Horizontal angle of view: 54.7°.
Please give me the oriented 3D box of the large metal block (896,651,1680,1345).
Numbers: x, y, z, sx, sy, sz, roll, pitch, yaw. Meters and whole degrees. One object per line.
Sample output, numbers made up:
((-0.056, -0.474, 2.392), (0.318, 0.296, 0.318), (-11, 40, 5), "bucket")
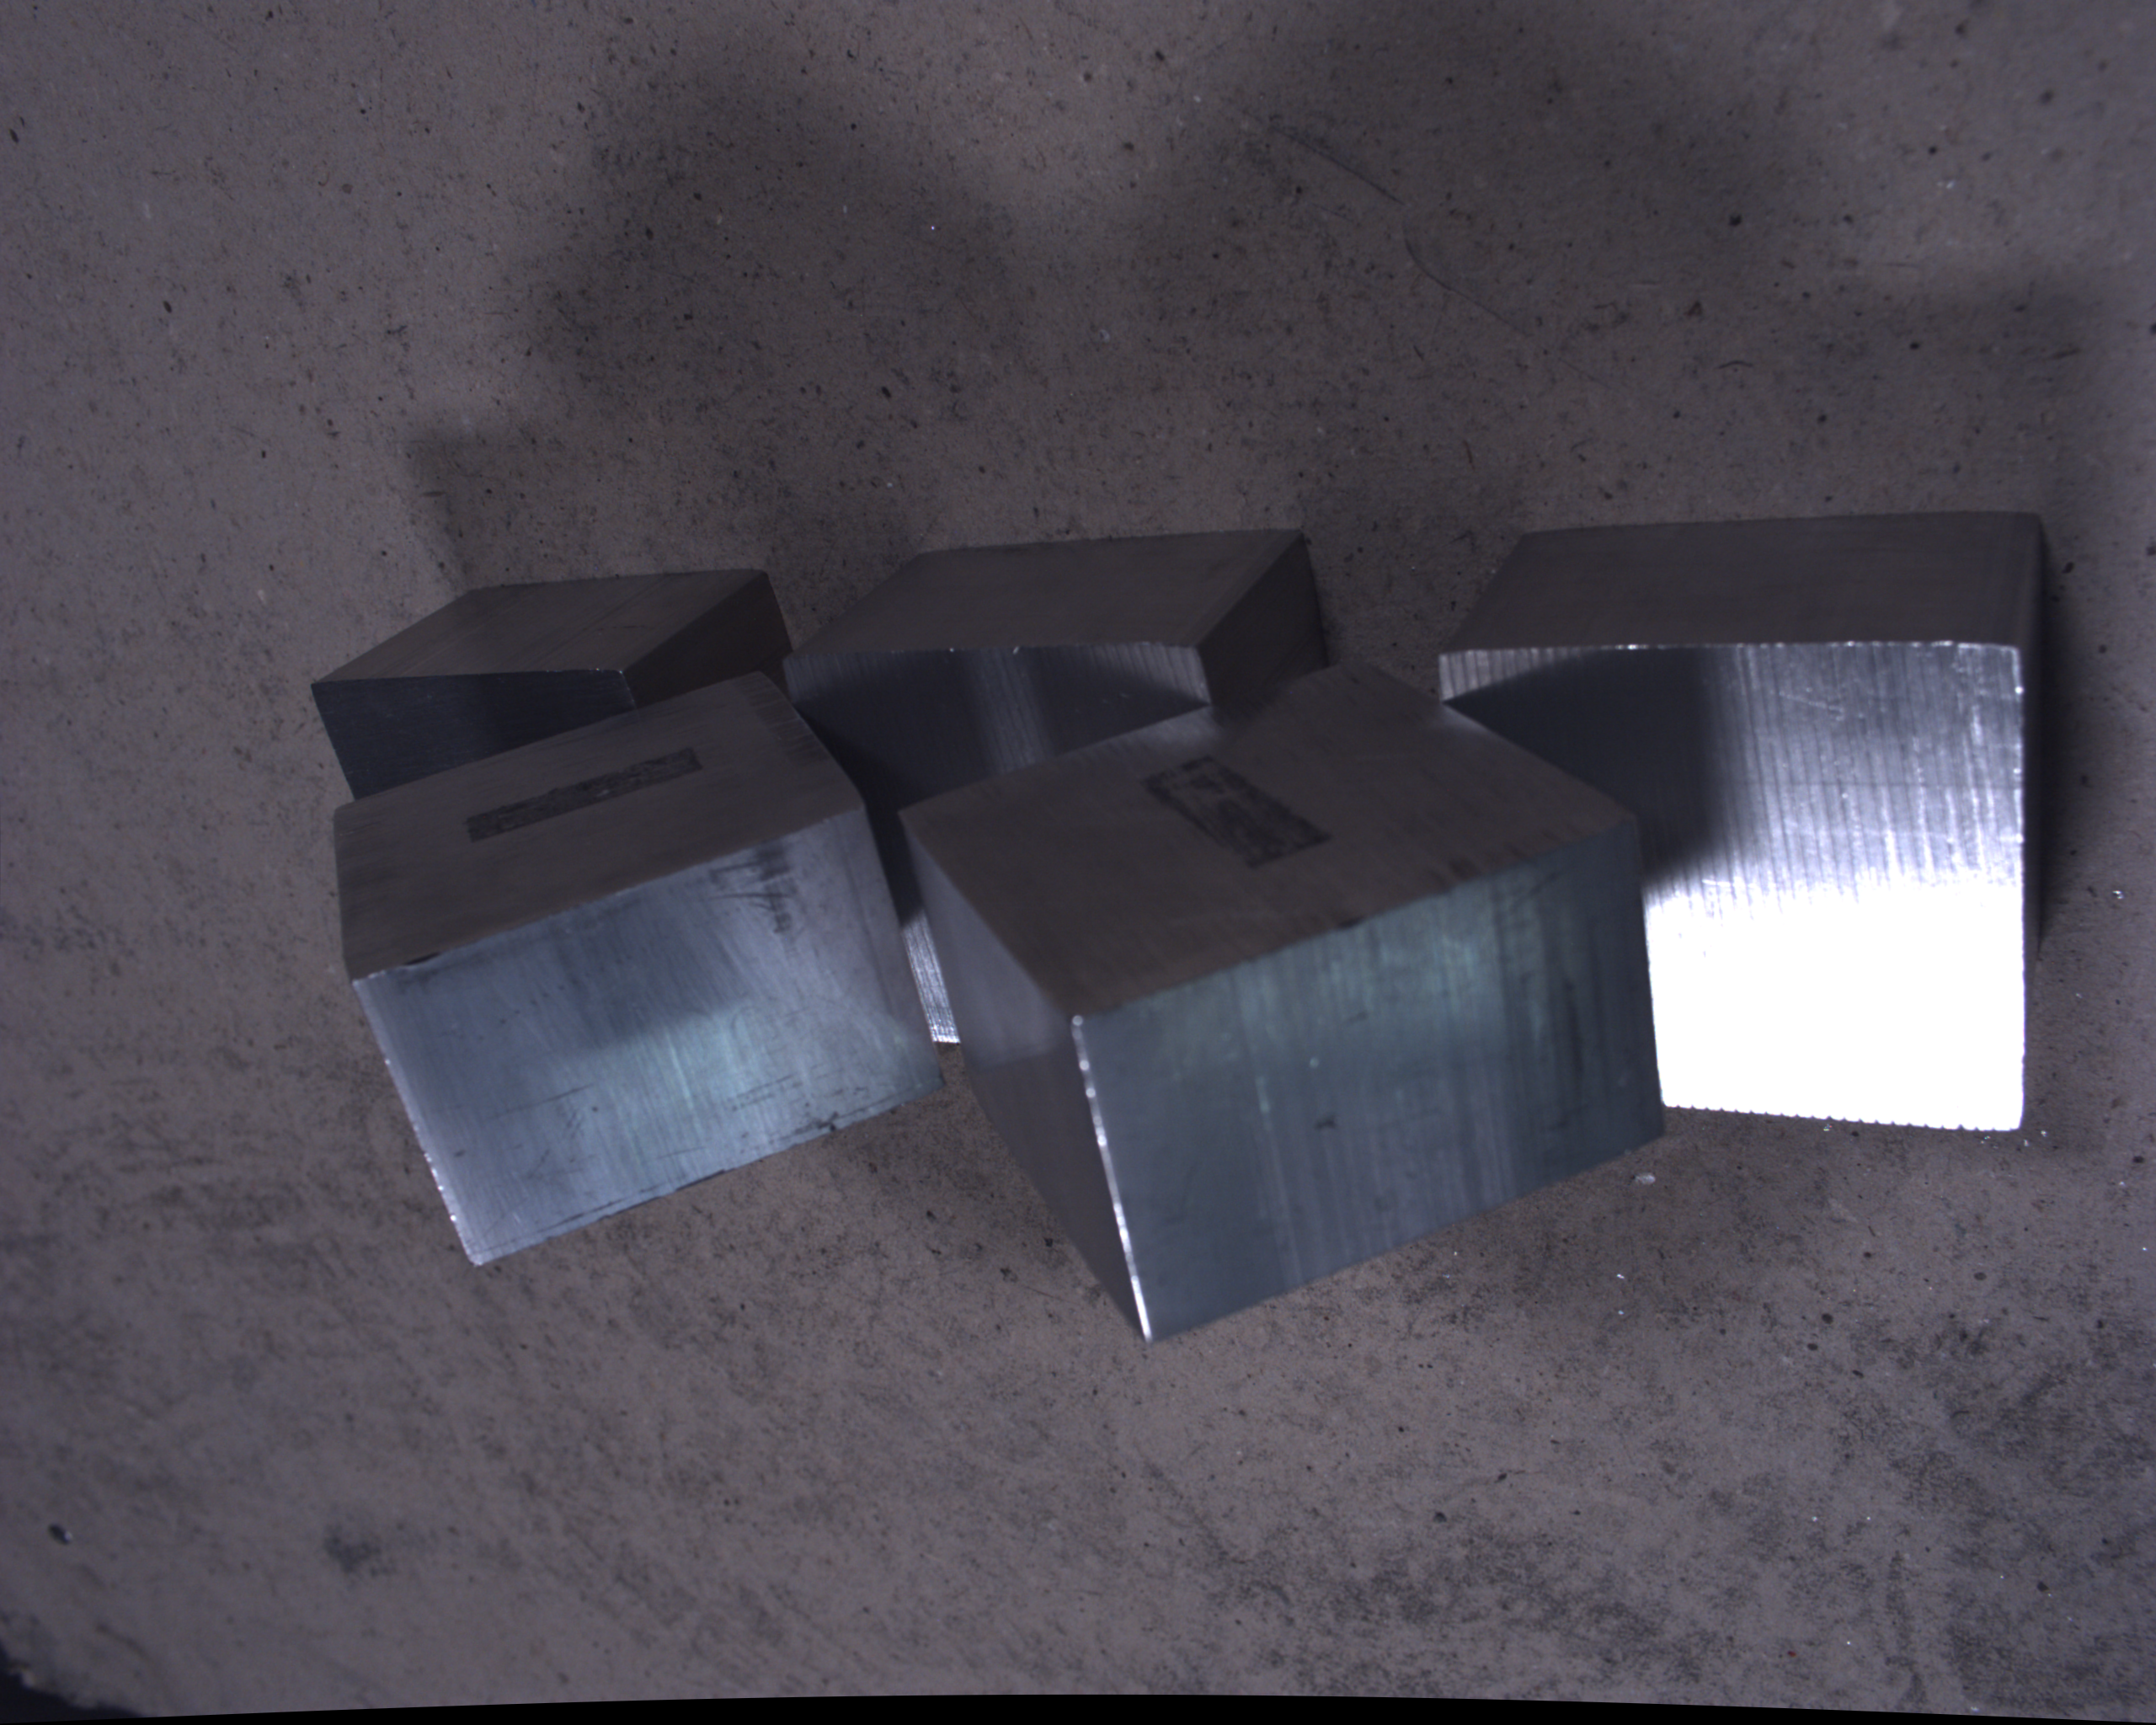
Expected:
((0.028, 0.014, 0.304), (0.080, 0.081, 0.050), (-135, 29, -61), "large metal block")

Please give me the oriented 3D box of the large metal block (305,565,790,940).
((-0.100, -0.013, 0.435), (0.080, 0.050, 0.080), (0, 119, 27), "large metal block")

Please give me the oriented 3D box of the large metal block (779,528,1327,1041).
((0.002, -0.013, 0.382), (0.080, 0.050, 0.079), (1, 119, 27), "large metal block")

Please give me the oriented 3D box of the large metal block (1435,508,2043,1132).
((0.108, -0.008, 0.331), (0.080, 0.050, 0.079), (2, 119, 27), "large metal block")

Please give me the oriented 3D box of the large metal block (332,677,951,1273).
((-0.077, 0.014, 0.356), (0.081, 0.080, 0.050), (-21, 116, -13), "large metal block")
